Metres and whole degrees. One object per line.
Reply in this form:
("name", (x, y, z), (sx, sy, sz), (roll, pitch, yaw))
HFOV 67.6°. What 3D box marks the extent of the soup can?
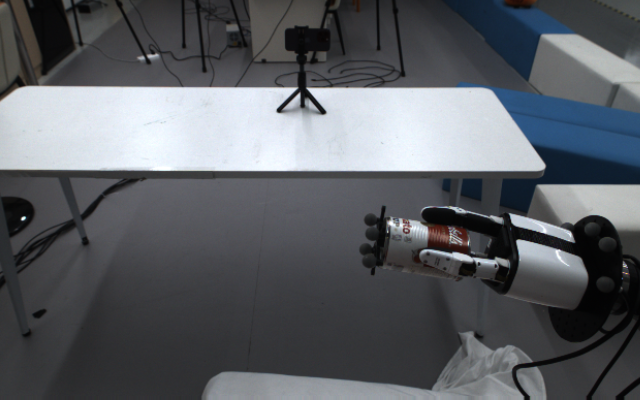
("soup can", (0.131, 0.059, 0.607), (0.101, 0.067, 0.067), (9, 35, 0))
